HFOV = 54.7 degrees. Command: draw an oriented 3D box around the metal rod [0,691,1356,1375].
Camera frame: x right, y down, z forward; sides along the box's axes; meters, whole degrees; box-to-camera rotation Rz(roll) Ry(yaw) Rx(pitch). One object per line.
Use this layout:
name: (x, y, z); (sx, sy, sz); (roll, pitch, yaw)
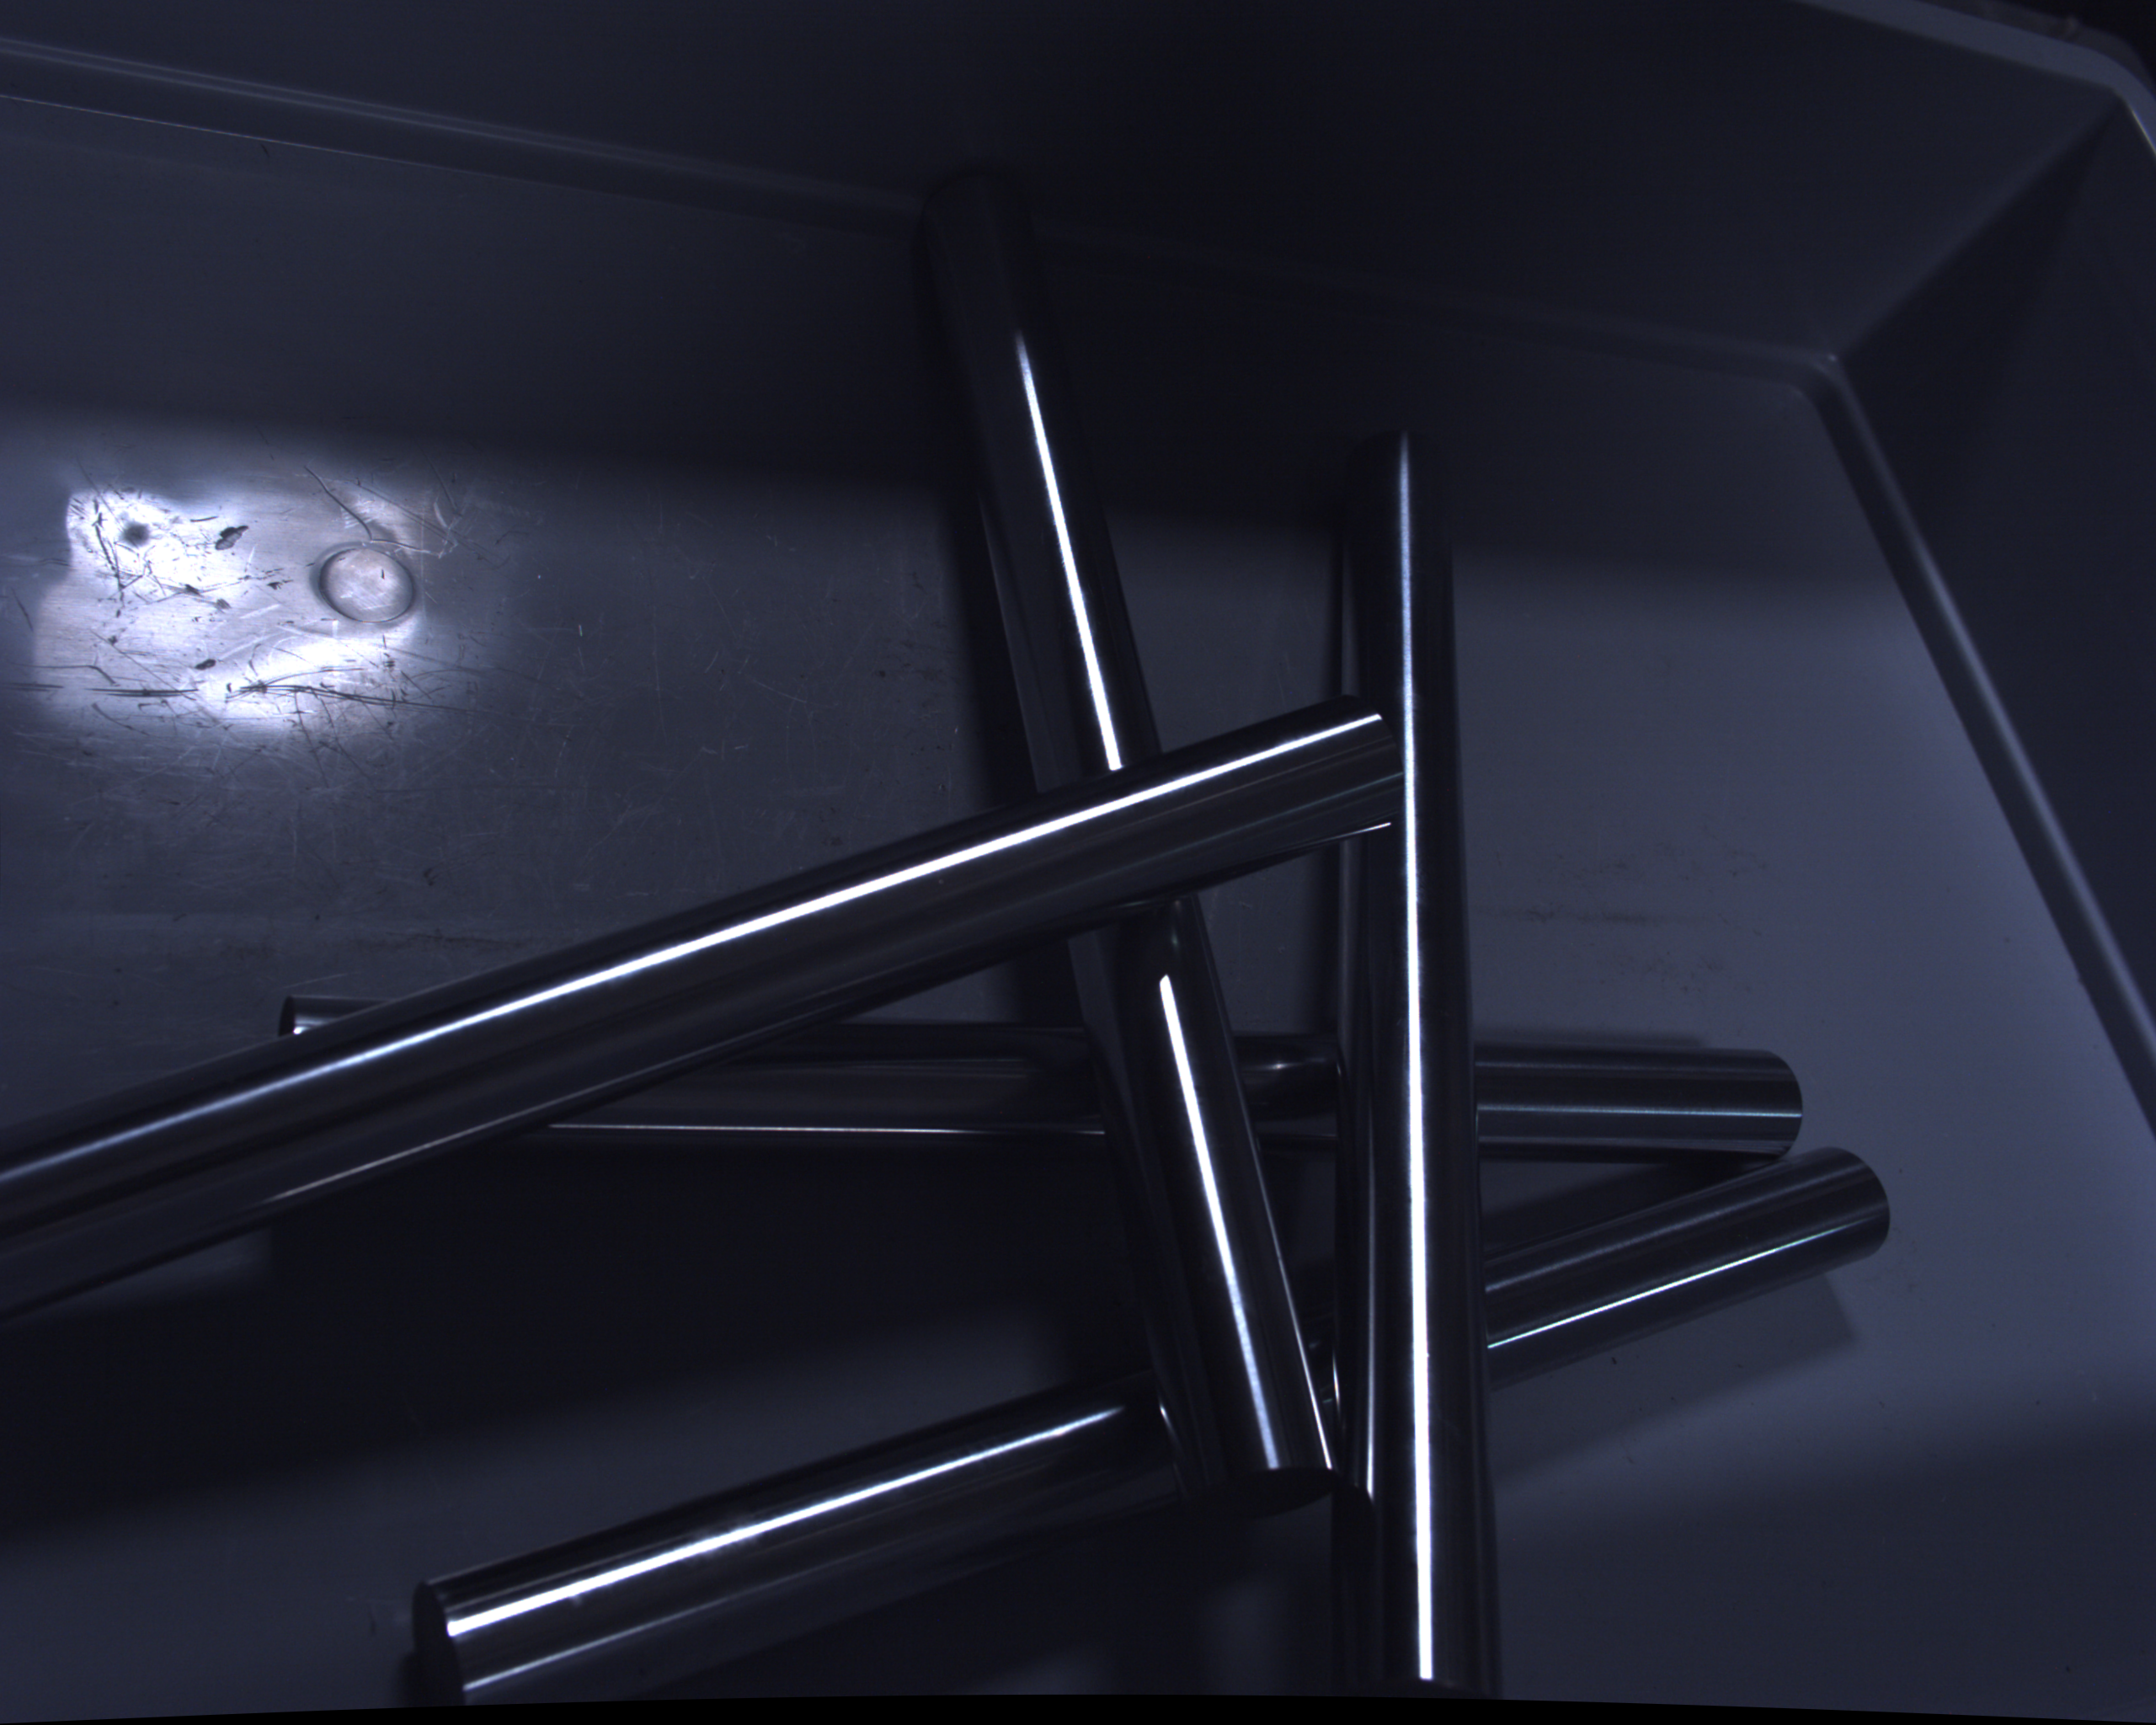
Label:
metal rod: (-0.078, 0.028, 0.313); (0.302, 0.025, 0.025); (-22, 74, -31)

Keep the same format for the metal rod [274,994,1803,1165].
metal rod: (0.013, 0.043, 0.386); (0.303, 0.025, 0.025); (4, 60, -26)

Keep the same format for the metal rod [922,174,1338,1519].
metal rod: (0.002, -0.026, 0.400); (0.025, 0.025, 0.299); (6, 53, -25)

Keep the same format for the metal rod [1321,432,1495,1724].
metal rod: (0.062, 0.016, 0.404); (0.025, 0.025, 0.300); (22, 46, -15)

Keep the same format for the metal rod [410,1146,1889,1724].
metal rod: (0.038, 0.093, 0.369); (0.303, 0.025, 0.025); (-9, 66, -32)
